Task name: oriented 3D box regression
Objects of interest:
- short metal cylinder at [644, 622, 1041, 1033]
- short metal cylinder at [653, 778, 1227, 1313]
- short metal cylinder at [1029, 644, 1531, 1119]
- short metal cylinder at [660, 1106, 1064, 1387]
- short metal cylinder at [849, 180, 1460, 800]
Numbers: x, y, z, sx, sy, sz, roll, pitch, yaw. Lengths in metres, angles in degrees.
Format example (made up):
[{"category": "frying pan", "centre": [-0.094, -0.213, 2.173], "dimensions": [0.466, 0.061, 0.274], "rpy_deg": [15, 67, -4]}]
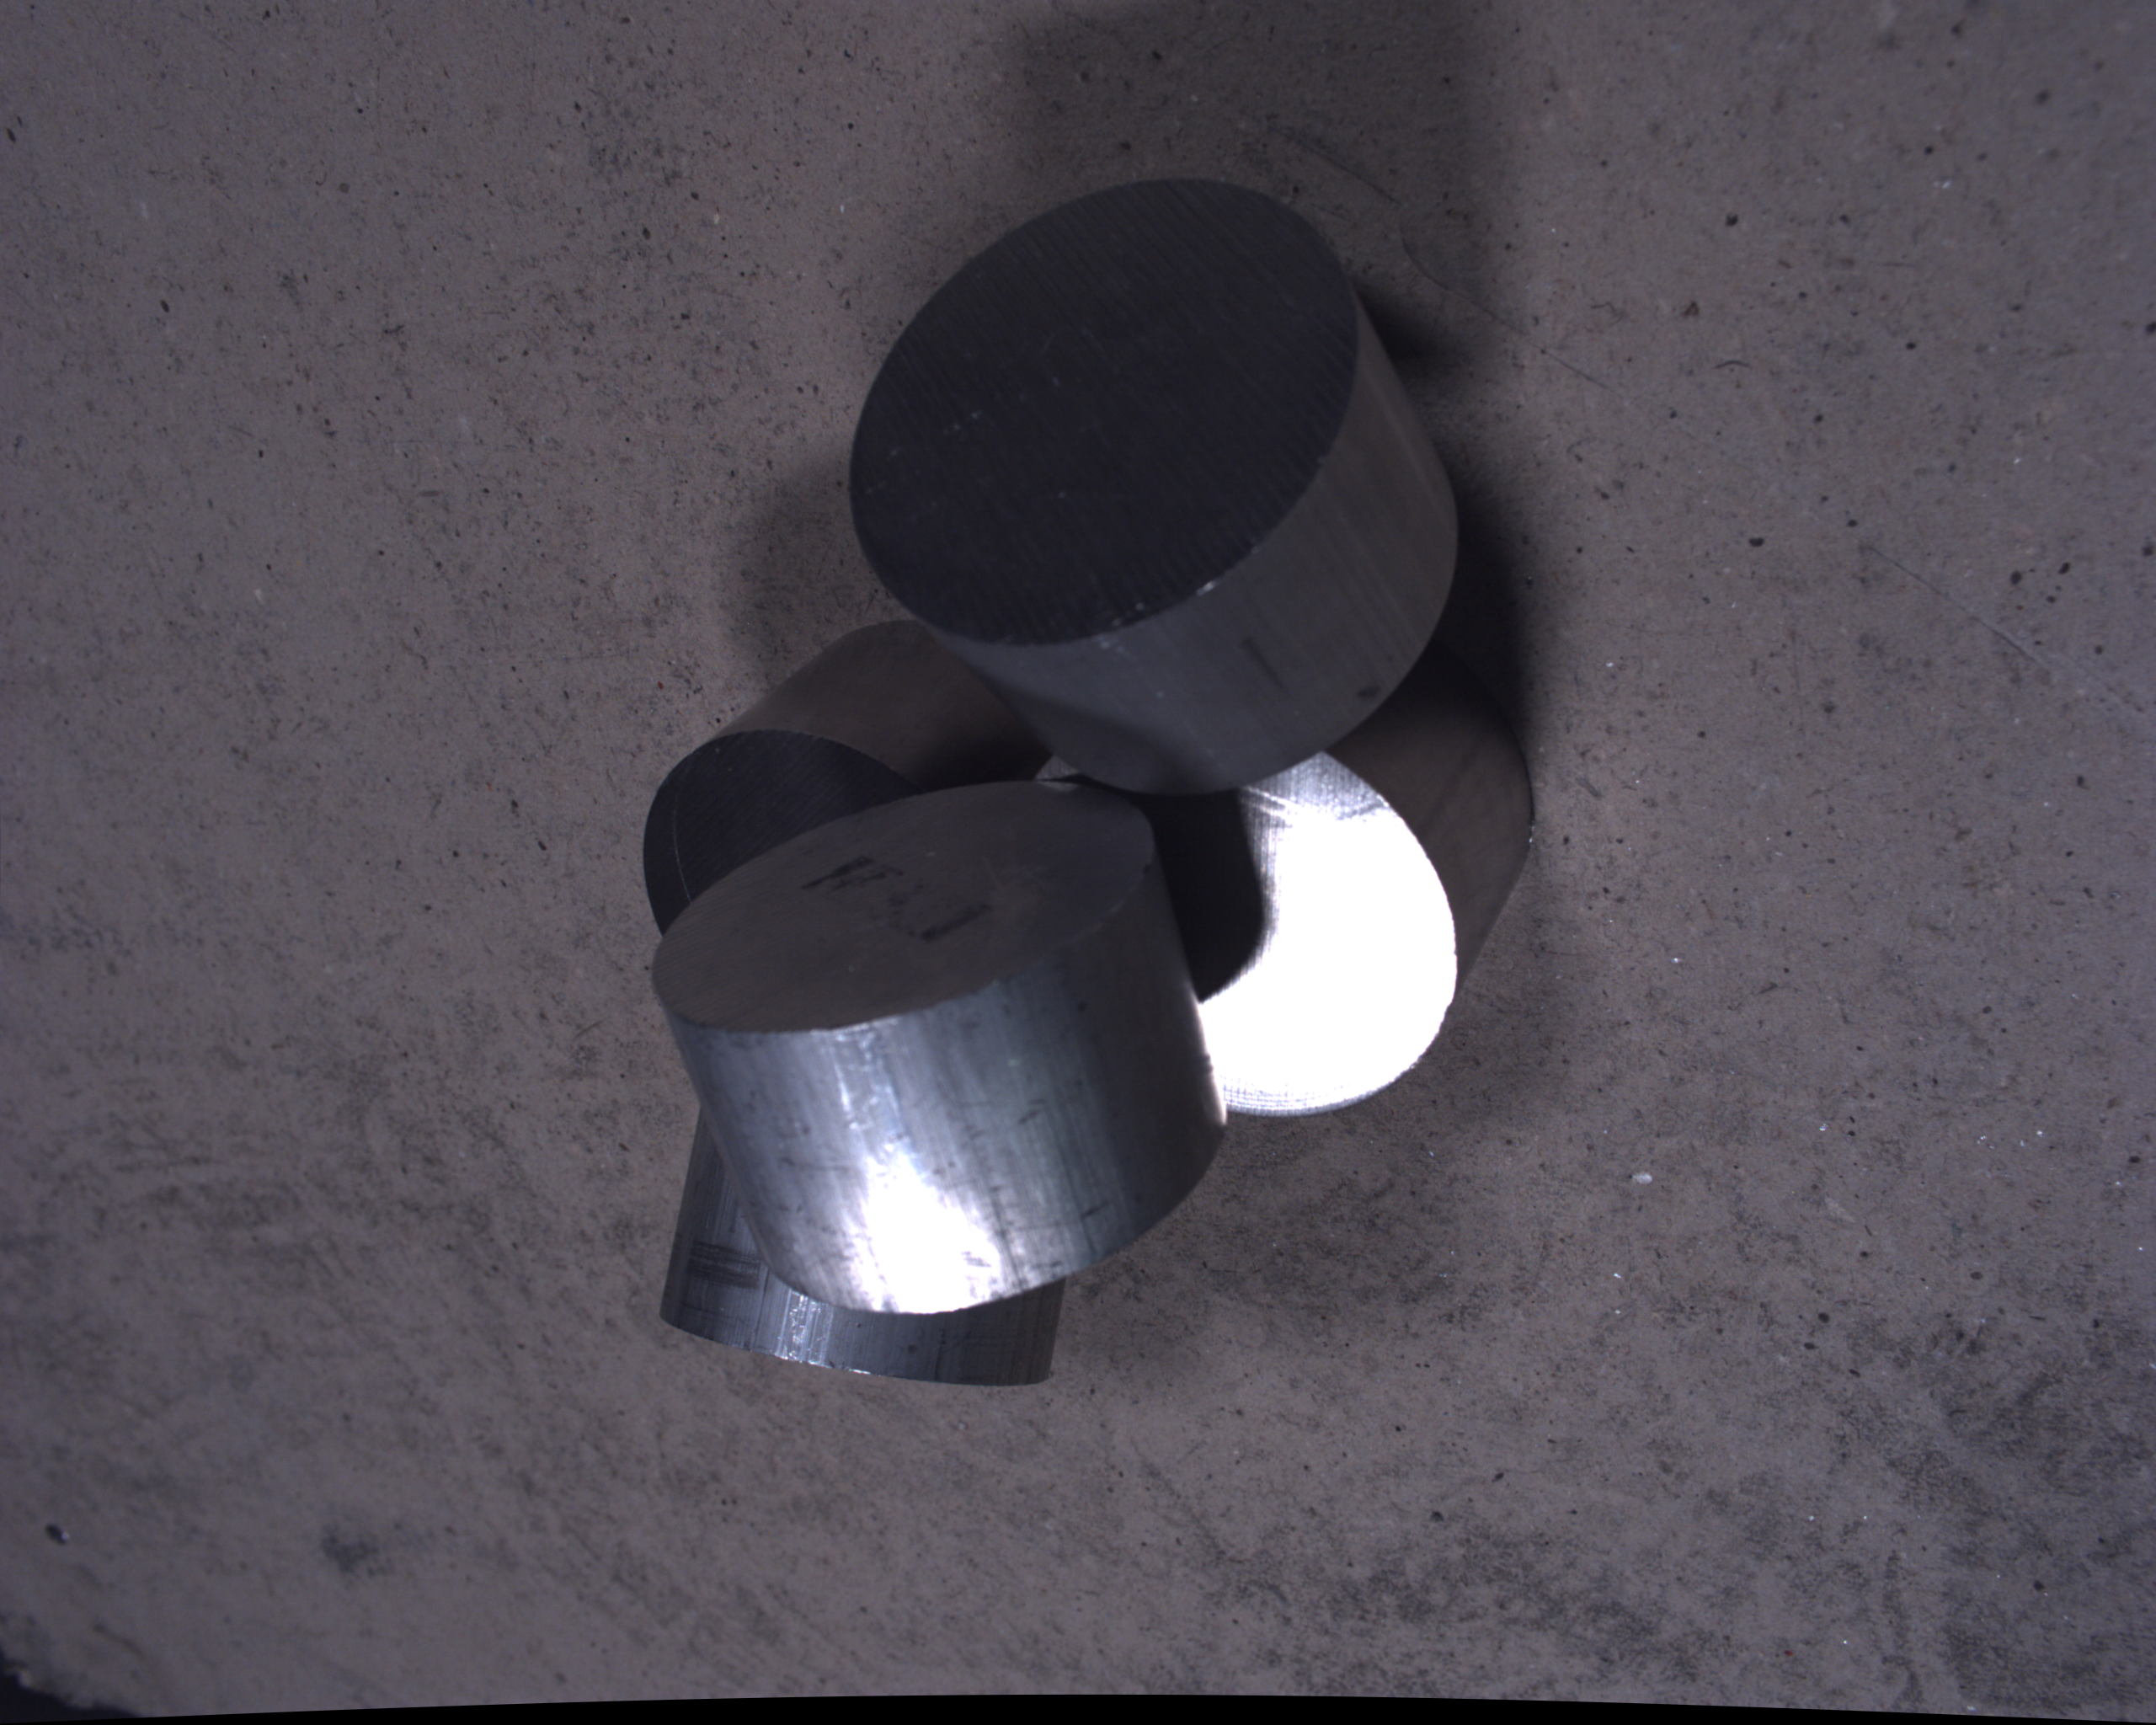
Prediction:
[{"category": "short metal cylinder", "centre": [-0.037, -0.001, 0.409], "dimensions": [0.080, 0.050, 0.079], "rpy_deg": [13, 124, 20]}, {"category": "short metal cylinder", "centre": [-0.021, 0.027, 0.334], "dimensions": [0.080, 0.080, 0.050], "rpy_deg": [-1, 118, 28]}, {"category": "short metal cylinder", "centre": [0.035, -0.001, 0.371], "dimensions": [0.080, 0.050, 0.079], "rpy_deg": [13, 124, 20]}, {"category": "short metal cylinder", "centre": [-0.041, 0.074, 0.430], "dimensions": [0.080, 0.080, 0.050], "rpy_deg": [7, 83, 24]}, {"category": "short metal cylinder", "centre": [0.013, -0.056, 0.321], "dimensions": [0.080, 0.080, 0.050], "rpy_deg": [1, 157, 27]}]
